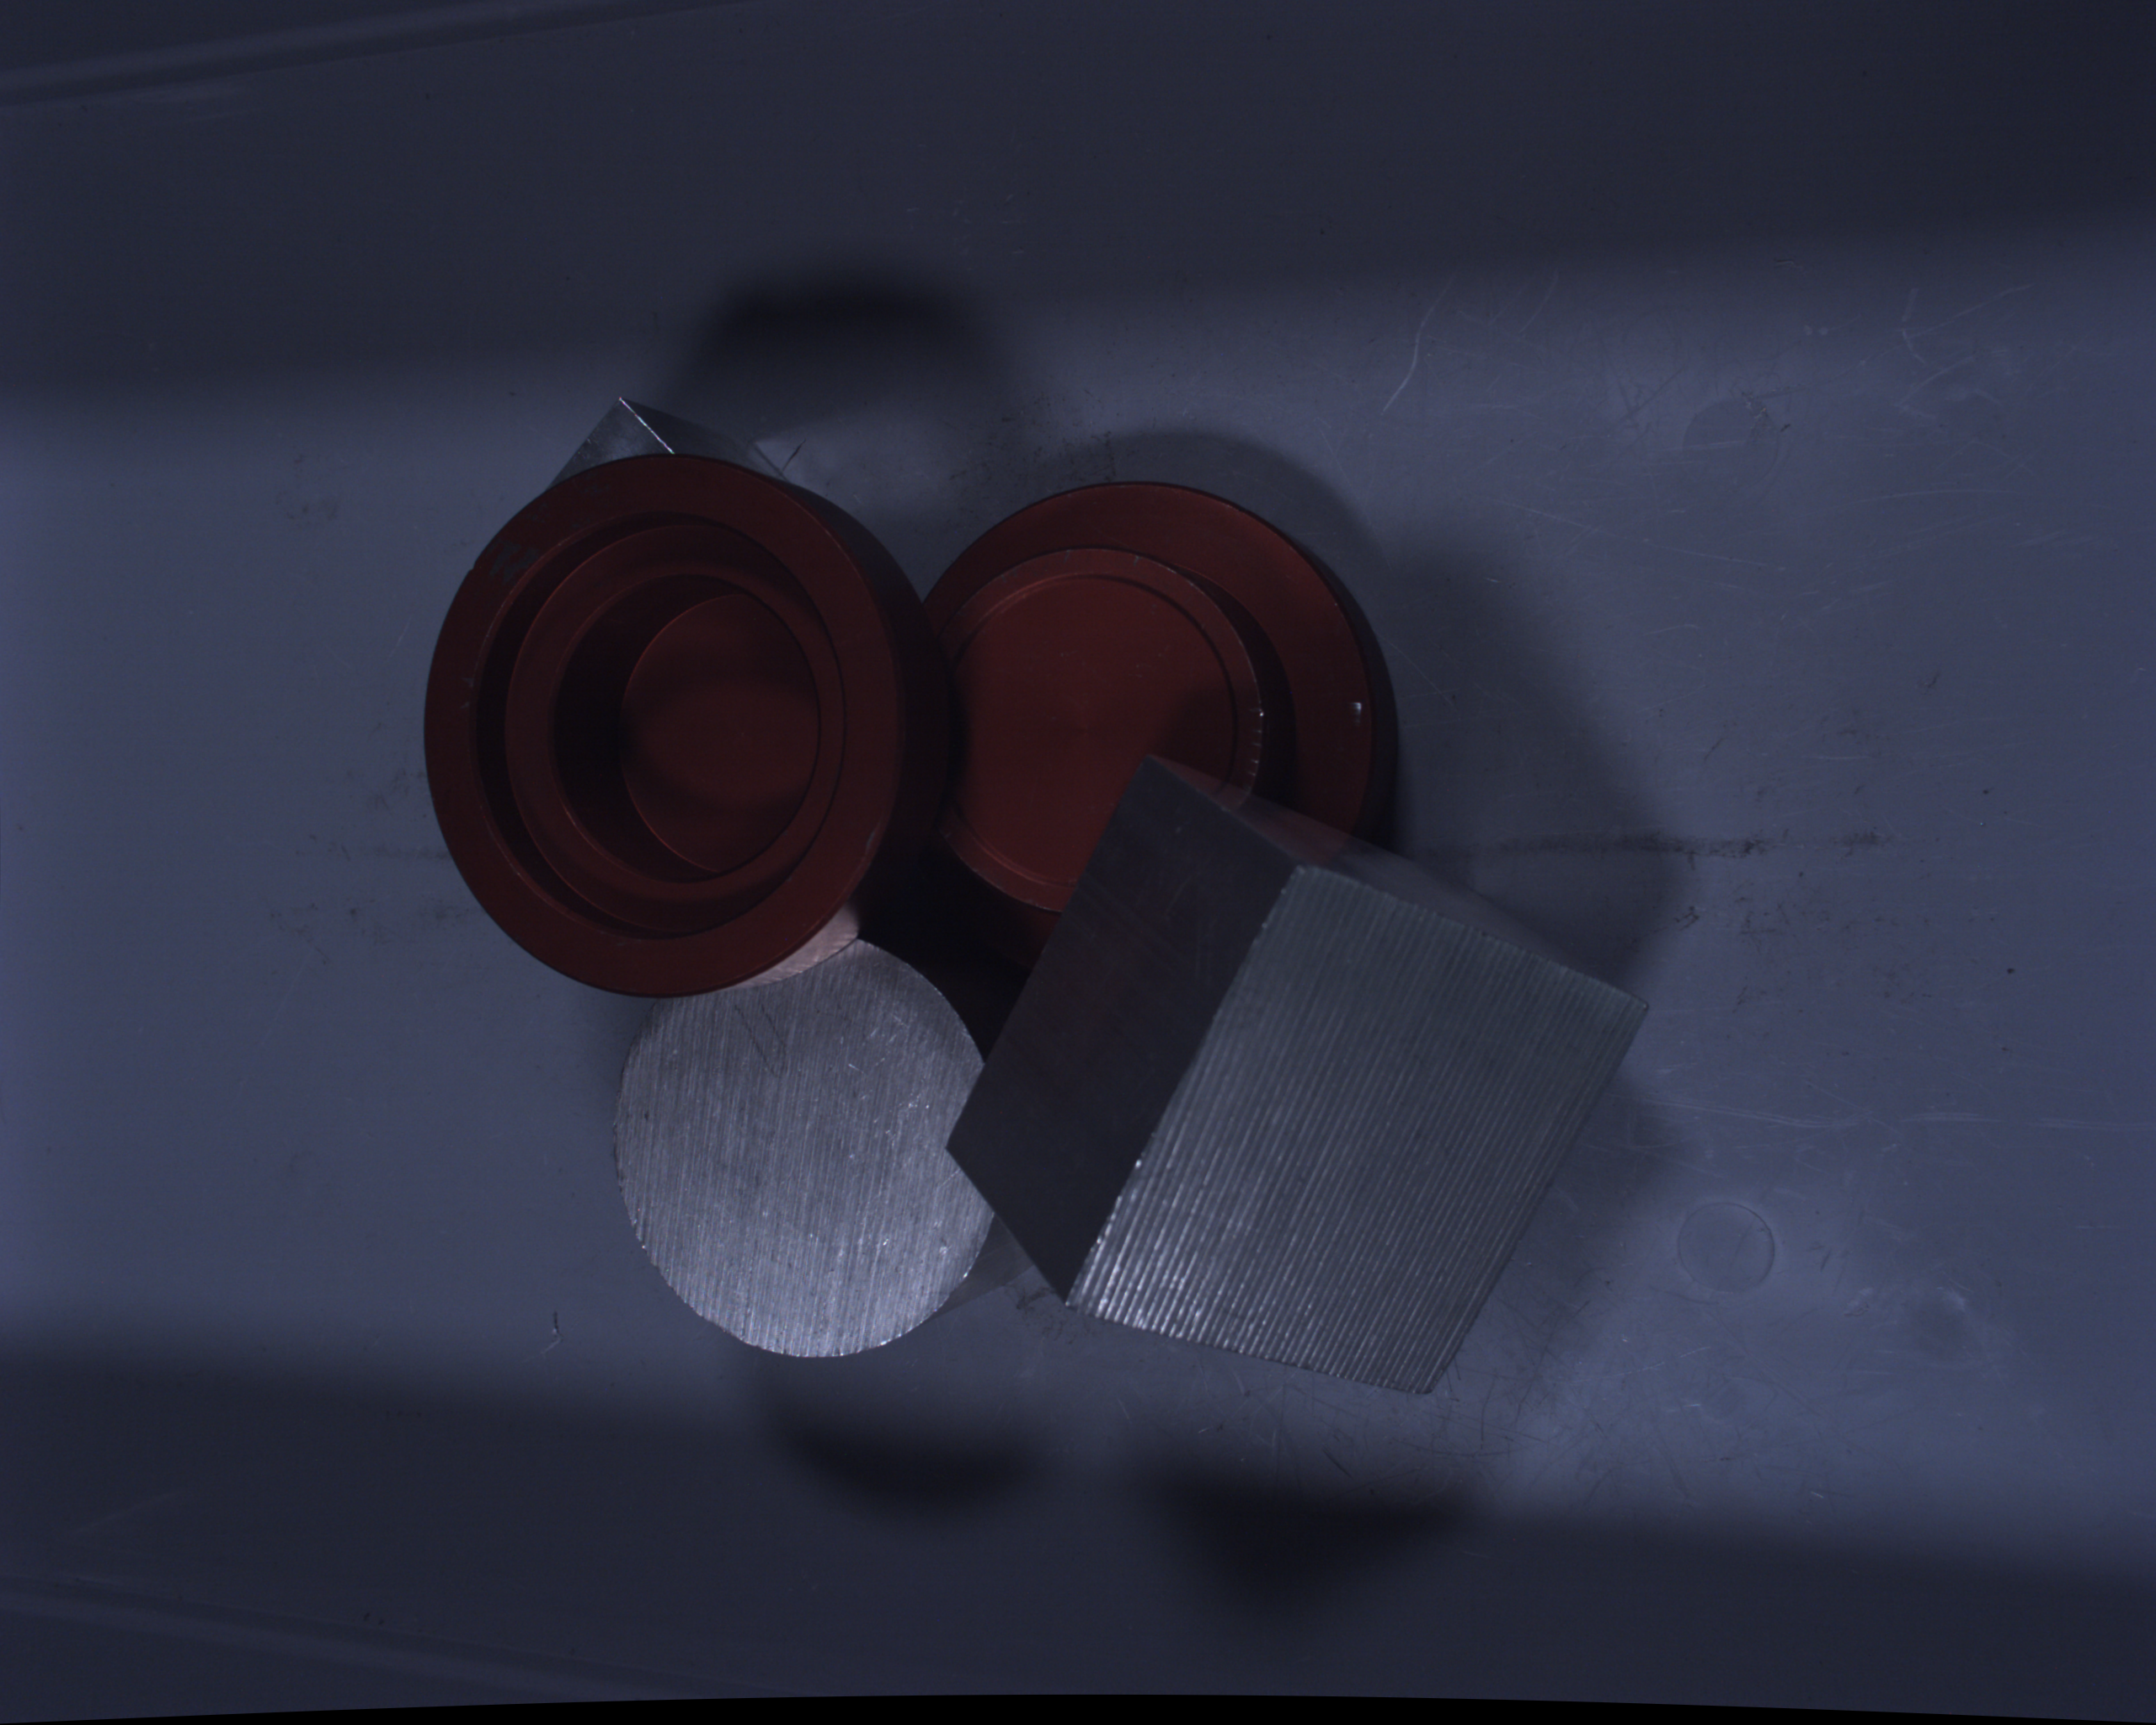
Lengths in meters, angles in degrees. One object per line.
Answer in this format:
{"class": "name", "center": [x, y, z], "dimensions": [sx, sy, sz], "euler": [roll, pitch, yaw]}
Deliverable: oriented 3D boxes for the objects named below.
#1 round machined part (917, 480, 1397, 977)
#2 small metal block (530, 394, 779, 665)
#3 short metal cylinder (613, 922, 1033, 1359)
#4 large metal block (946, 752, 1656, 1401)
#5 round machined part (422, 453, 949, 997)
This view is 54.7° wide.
{"class": "round machined part", "center": [0.008, -0.024, 0.394], "dimensions": [0.098, 0.042, 0.097], "euler": [0, 90, 19]}
{"class": "small metal block", "center": [-0.087, -0.063, 0.424], "dimensions": [0.025, 0.050, 0.050], "euler": [46, 104, 14]}
{"class": "short metal cylinder", "center": [-0.043, 0.052, 0.409], "dimensions": [0.080, 0.050, 0.079], "euler": [0, 90, 19]}
{"class": "large metal block", "center": [0.037, 0.038, 0.359], "dimensions": [0.080, 0.080, 0.050], "euler": [-63, 32, 9]}
{"class": "round machined part", "center": [-0.069, -0.025, 0.392], "dimensions": [0.098, 0.042, 0.097], "euler": [0, 90, 19]}
